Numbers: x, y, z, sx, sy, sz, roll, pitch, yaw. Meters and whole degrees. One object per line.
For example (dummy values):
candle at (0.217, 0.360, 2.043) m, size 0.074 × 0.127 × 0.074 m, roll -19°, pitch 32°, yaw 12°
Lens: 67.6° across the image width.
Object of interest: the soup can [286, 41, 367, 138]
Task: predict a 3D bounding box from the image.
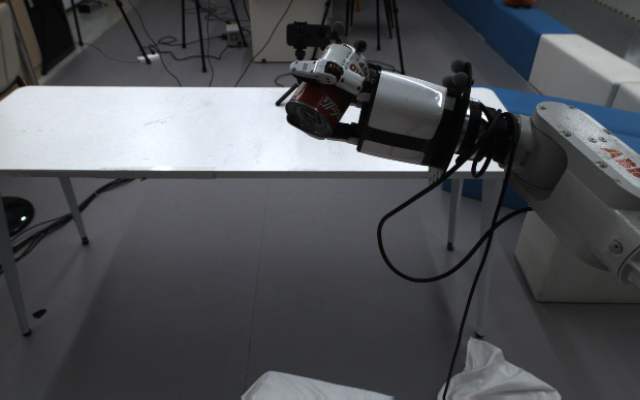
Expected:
soup can at (0.012, -0.139, 0.610) m, size 0.067 × 0.067 × 0.101 m, roll 23°, pitch 71°, yaw 27°
